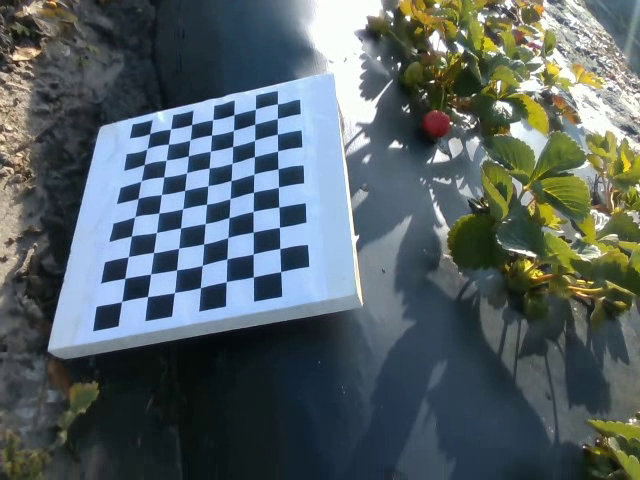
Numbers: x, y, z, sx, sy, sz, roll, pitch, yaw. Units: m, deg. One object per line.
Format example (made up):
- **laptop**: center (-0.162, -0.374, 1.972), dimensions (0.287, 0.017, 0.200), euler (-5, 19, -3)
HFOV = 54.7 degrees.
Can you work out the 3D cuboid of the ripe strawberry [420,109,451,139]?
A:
- **ripe strawberry**: center (0.119, -0.118, 0.640), dimensions (0.030, 0.033, 0.044), euler (11, 27, 29)
